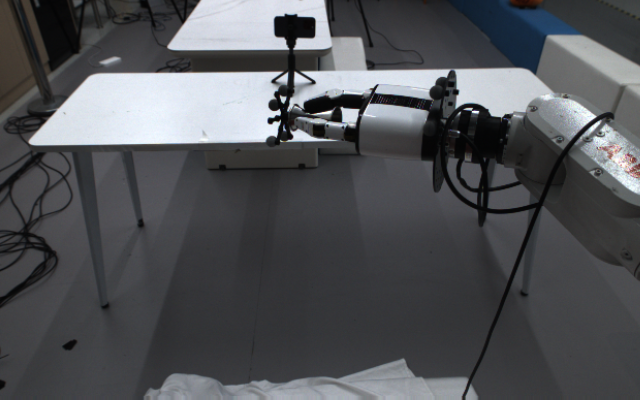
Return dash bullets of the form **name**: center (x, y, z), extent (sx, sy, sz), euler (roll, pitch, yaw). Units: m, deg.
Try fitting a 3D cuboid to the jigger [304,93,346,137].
- **jigger**: center (-0.002, -0.119, 0.699), extent (0.071, 0.043, 0.043), euler (10, 35, 22)
